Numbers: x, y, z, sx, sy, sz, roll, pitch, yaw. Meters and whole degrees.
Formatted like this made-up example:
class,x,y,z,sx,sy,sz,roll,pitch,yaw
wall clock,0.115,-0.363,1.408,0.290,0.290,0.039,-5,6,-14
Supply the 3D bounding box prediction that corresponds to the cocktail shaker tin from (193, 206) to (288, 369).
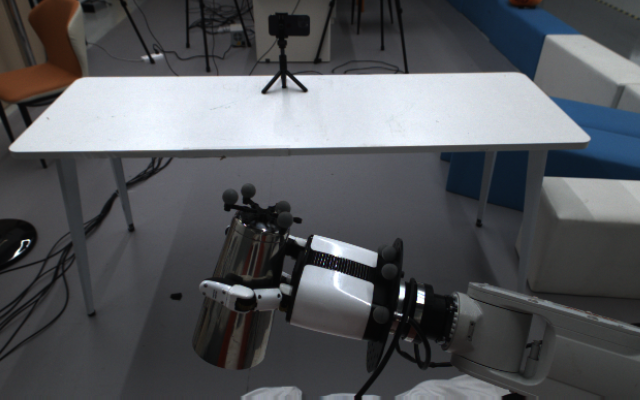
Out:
class,x,y,z,sx,sy,sz,roll,pitch,yaw
cocktail shaker tin,-0.087,0.100,0.569,0.093,0.170,0.093,15,17,-5
